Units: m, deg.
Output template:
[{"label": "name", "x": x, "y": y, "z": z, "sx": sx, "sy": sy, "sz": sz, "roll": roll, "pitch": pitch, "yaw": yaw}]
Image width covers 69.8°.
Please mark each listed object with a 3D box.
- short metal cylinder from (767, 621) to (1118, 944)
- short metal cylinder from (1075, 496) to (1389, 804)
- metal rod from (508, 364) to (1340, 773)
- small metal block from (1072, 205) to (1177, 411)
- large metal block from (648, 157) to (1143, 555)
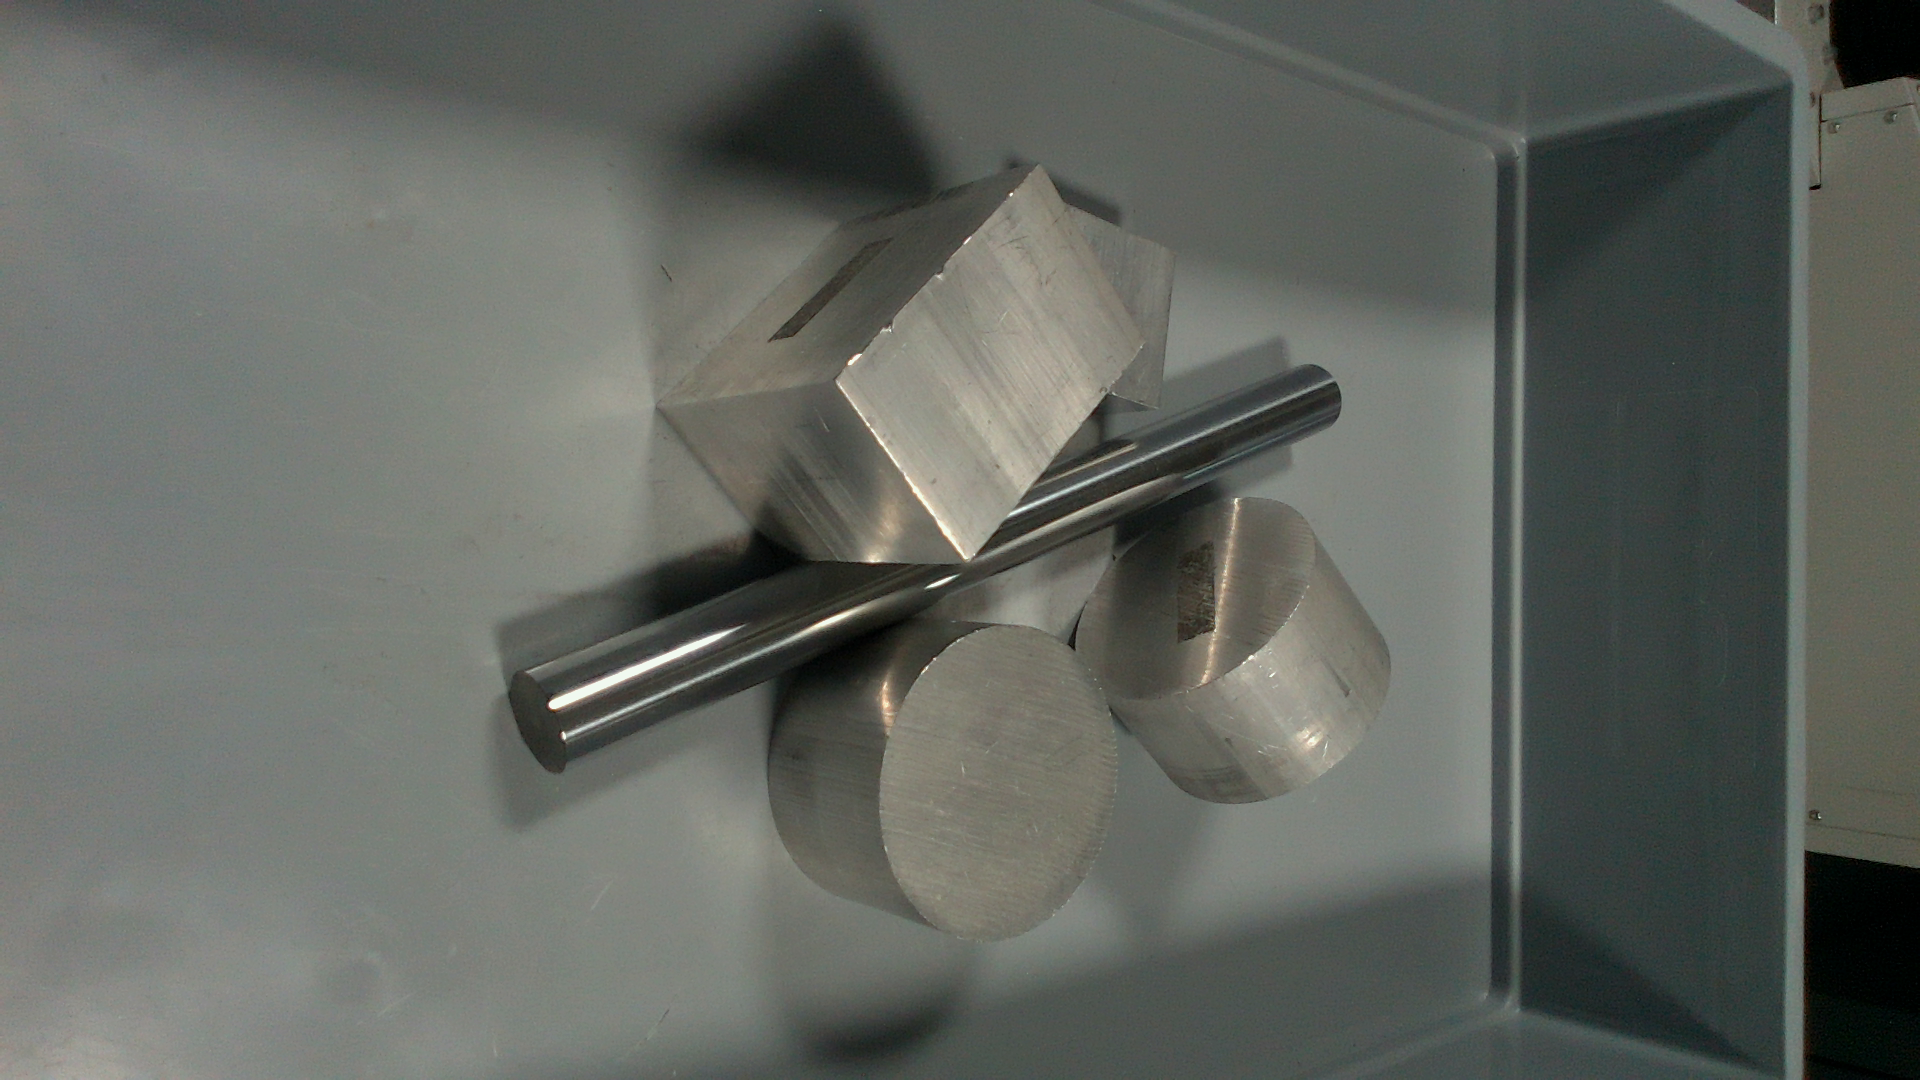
[{"label": "short metal cylinder", "x": -0.004, "y": 0.062, "z": 0.367, "sx": 0.080, "sy": 0.050, "sz": 0.080, "roll": 0, "pitch": 90, "yaw": -40}, {"label": "short metal cylinder", "x": 0.083, "y": 0.033, "z": 0.421, "sx": 0.050, "sy": 0.080, "sz": 0.080, "roll": 50, "pitch": 61, "yaw": -28}, {"label": "metal rod", "x": 0.015, "y": -0.005, "z": 0.400, "sx": 0.301, "sy": 0.025, "sz": 0.025, "roll": -23, "pitch": 104, "yaw": -38}, {"label": "small metal block", "x": 0.037, "y": -0.069, "z": 0.419, "sx": 0.050, "sy": 0.025, "sz": 0.050, "roll": 11, "pitch": 83, "yaw": -39}, {"label": "large metal block", "x": -0.016, "y": -0.043, "z": 0.339, "sx": 0.080, "sy": 0.080, "sz": 0.050, "roll": -51, "pitch": 120, "yaw": -28}]
